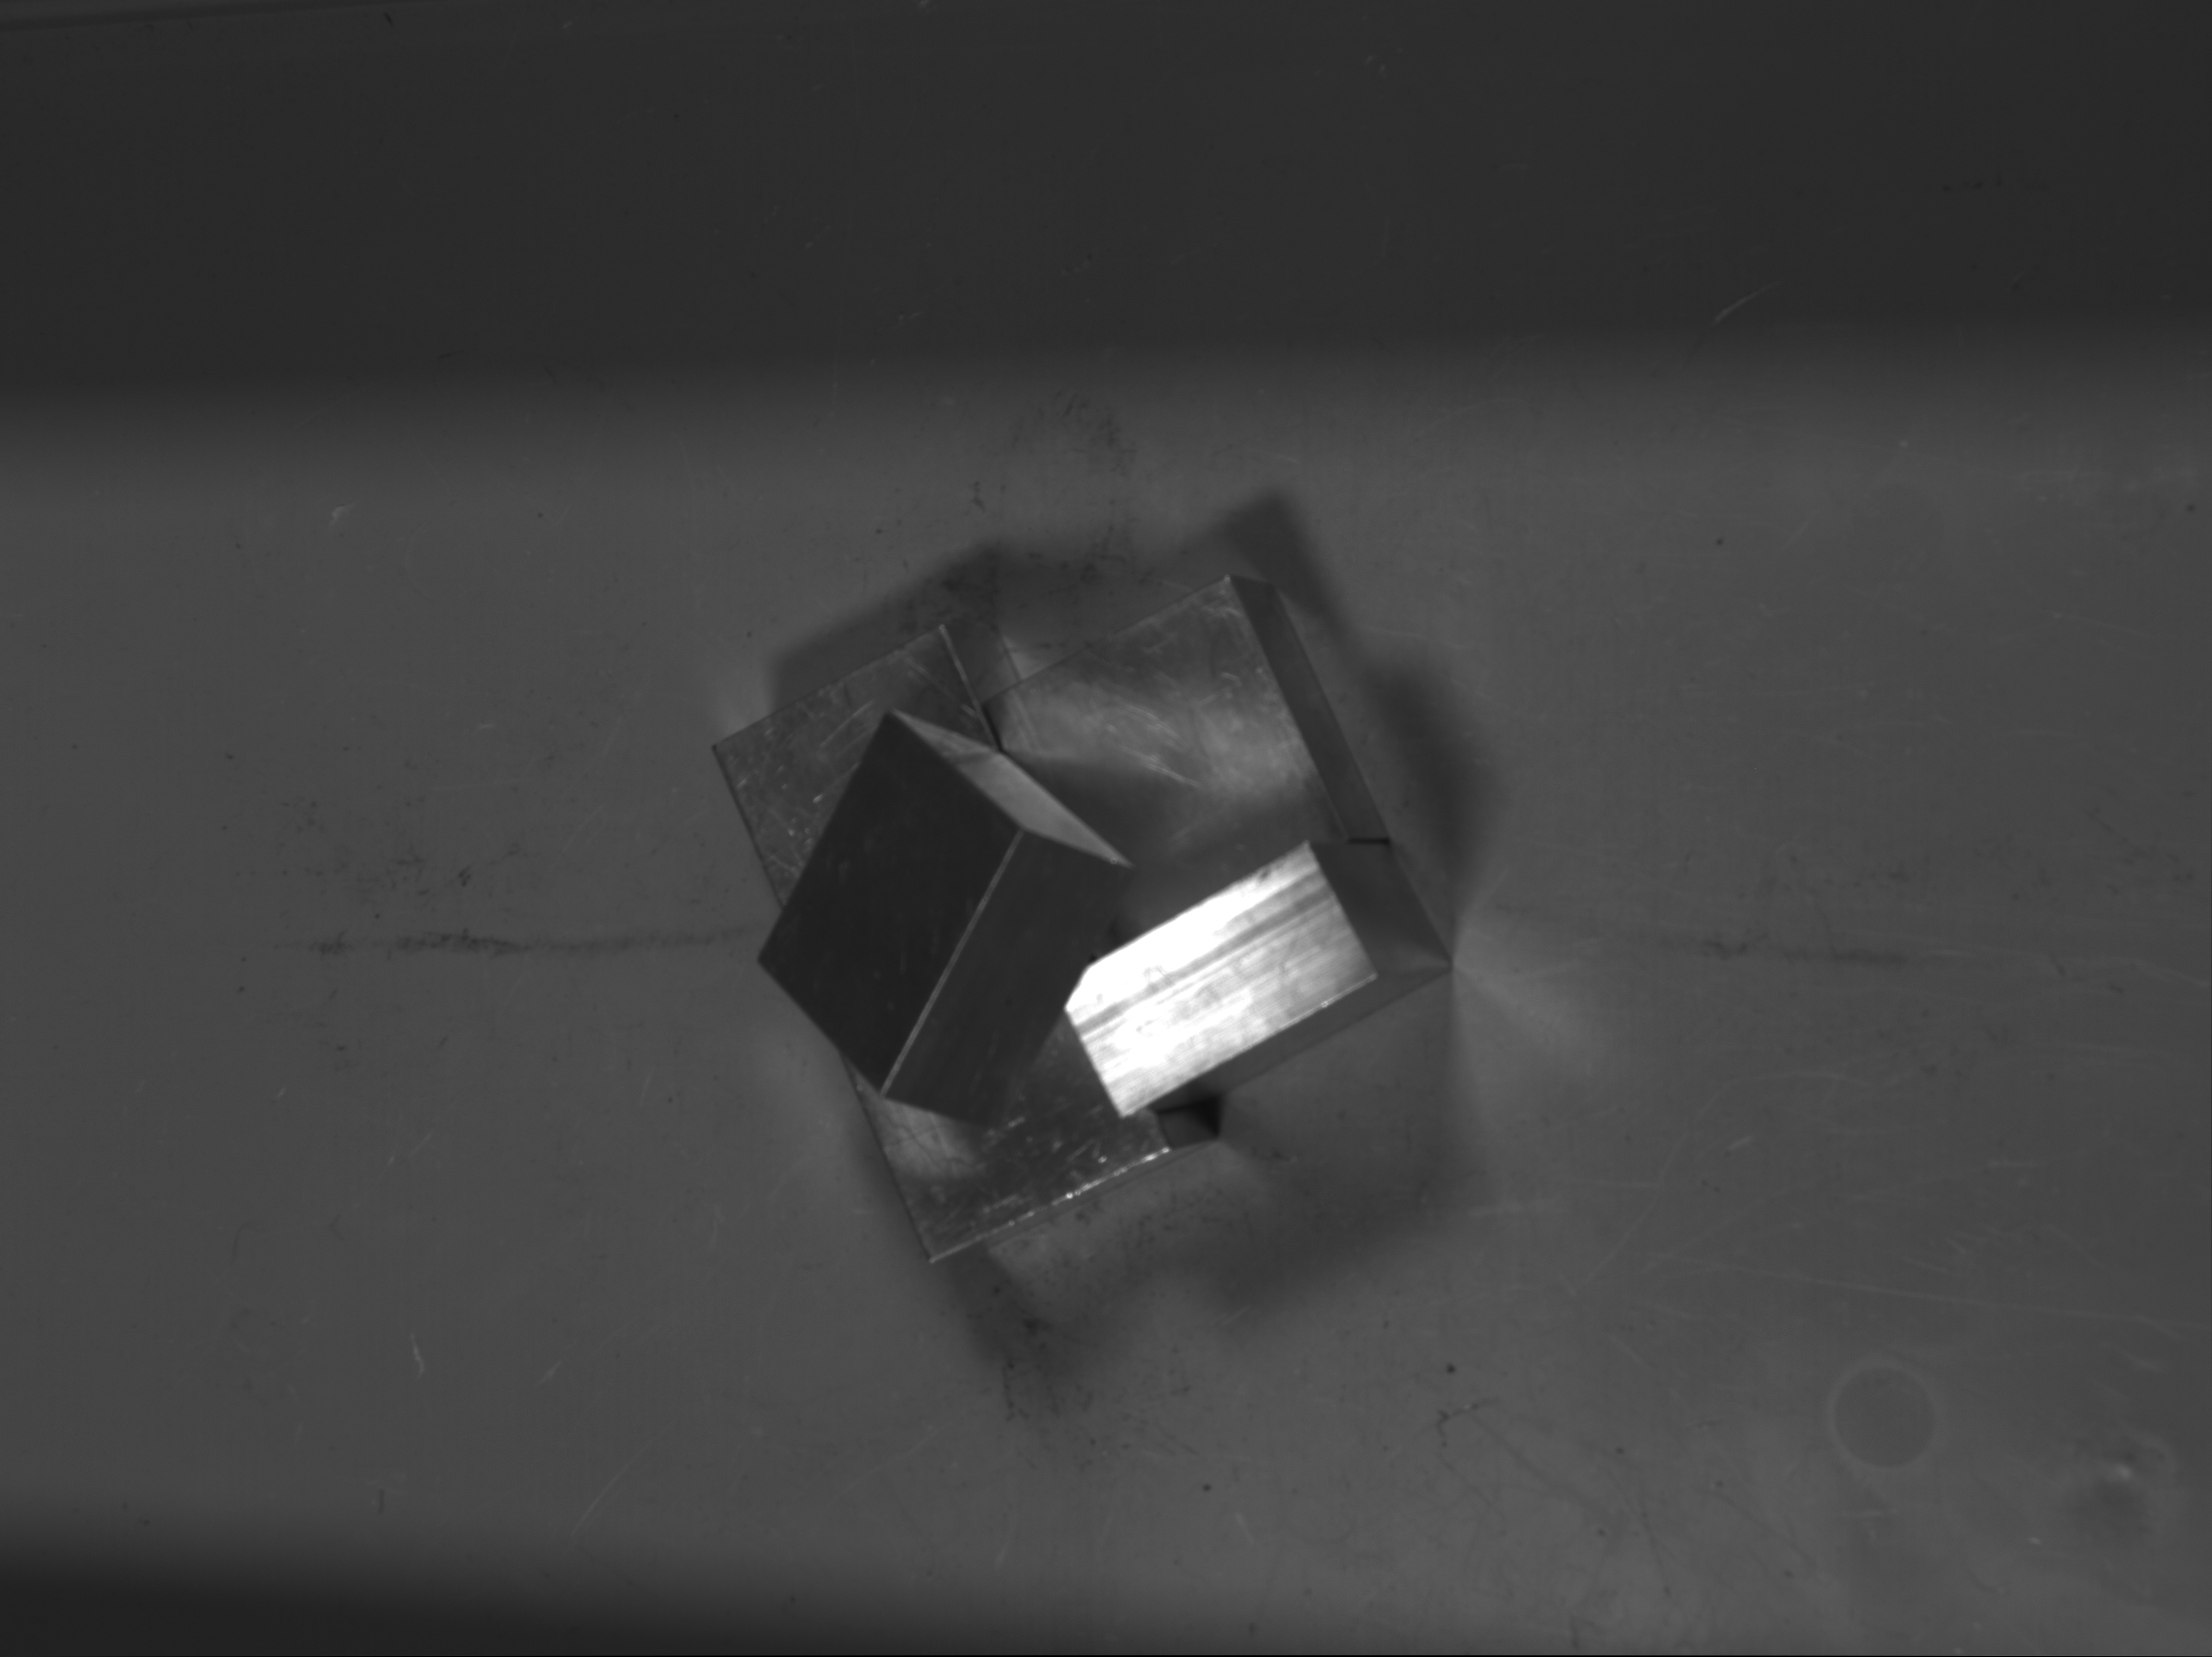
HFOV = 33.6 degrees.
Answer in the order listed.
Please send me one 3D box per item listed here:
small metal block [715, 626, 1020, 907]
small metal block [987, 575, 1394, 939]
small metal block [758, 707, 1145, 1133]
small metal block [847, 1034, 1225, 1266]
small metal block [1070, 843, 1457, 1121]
[{"bbox_3d":[-0.034,-0.002,0.656,0.050,0.025,0.050,-26,81,18],"label":"small metal block"},{"bbox_3d":[0.015,-0.010,0.638,0.050,0.025,0.050,-26,81,18],"label":"small metal block"},{"bbox_3d":[-0.027,0.015,0.613,0.050,0.025,0.050,40,105,51],"label":"small metal block"},{"bbox_3d":[-0.014,0.043,0.648,0.050,0.025,0.050,-26,81,18],"label":"small metal block"},{"bbox_3d":[0.026,0.025,0.620,0.050,0.050,0.025,-30,80,17],"label":"small metal block"}]
